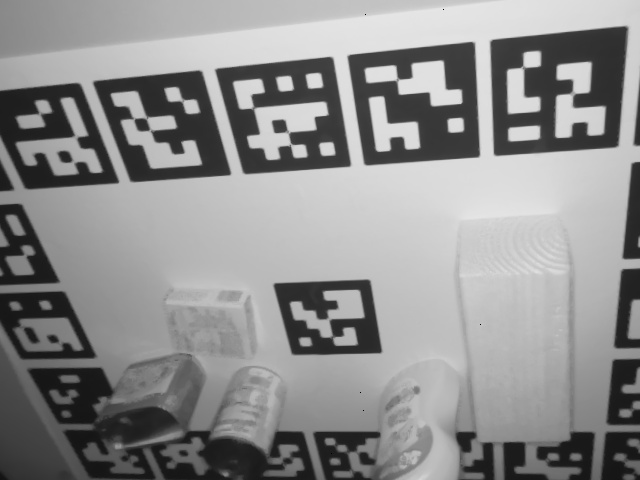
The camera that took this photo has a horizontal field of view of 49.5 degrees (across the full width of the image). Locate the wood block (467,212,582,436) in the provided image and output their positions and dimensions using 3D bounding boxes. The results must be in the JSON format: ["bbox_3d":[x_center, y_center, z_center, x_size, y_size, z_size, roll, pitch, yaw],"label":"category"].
[{"bbox_3d":[0.186,0.084,0.651,0.090,0.091,0.205,-2,126,12],"label":"wood block"}]

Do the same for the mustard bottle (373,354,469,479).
[{"bbox_3d":[0.099,0.201,0.684,0.095,0.194,0.058,-26,116,25],"label":"mustard bottle"}]

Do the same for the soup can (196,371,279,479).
[{"bbox_3d":[-0.086,0.199,0.748,0.068,0.103,0.067,4,122,7],"label":"soup can"}]

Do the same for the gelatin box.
[{"bbox_3d":[-0.117,0.081,0.725,0.089,0.030,0.072,5,121,3],"label":"gelatin box"}]

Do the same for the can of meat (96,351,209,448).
[{"bbox_3d":[-0.182,0.175,0.769,0.101,0.085,0.057,-14,119,20],"label":"can of meat"}]
